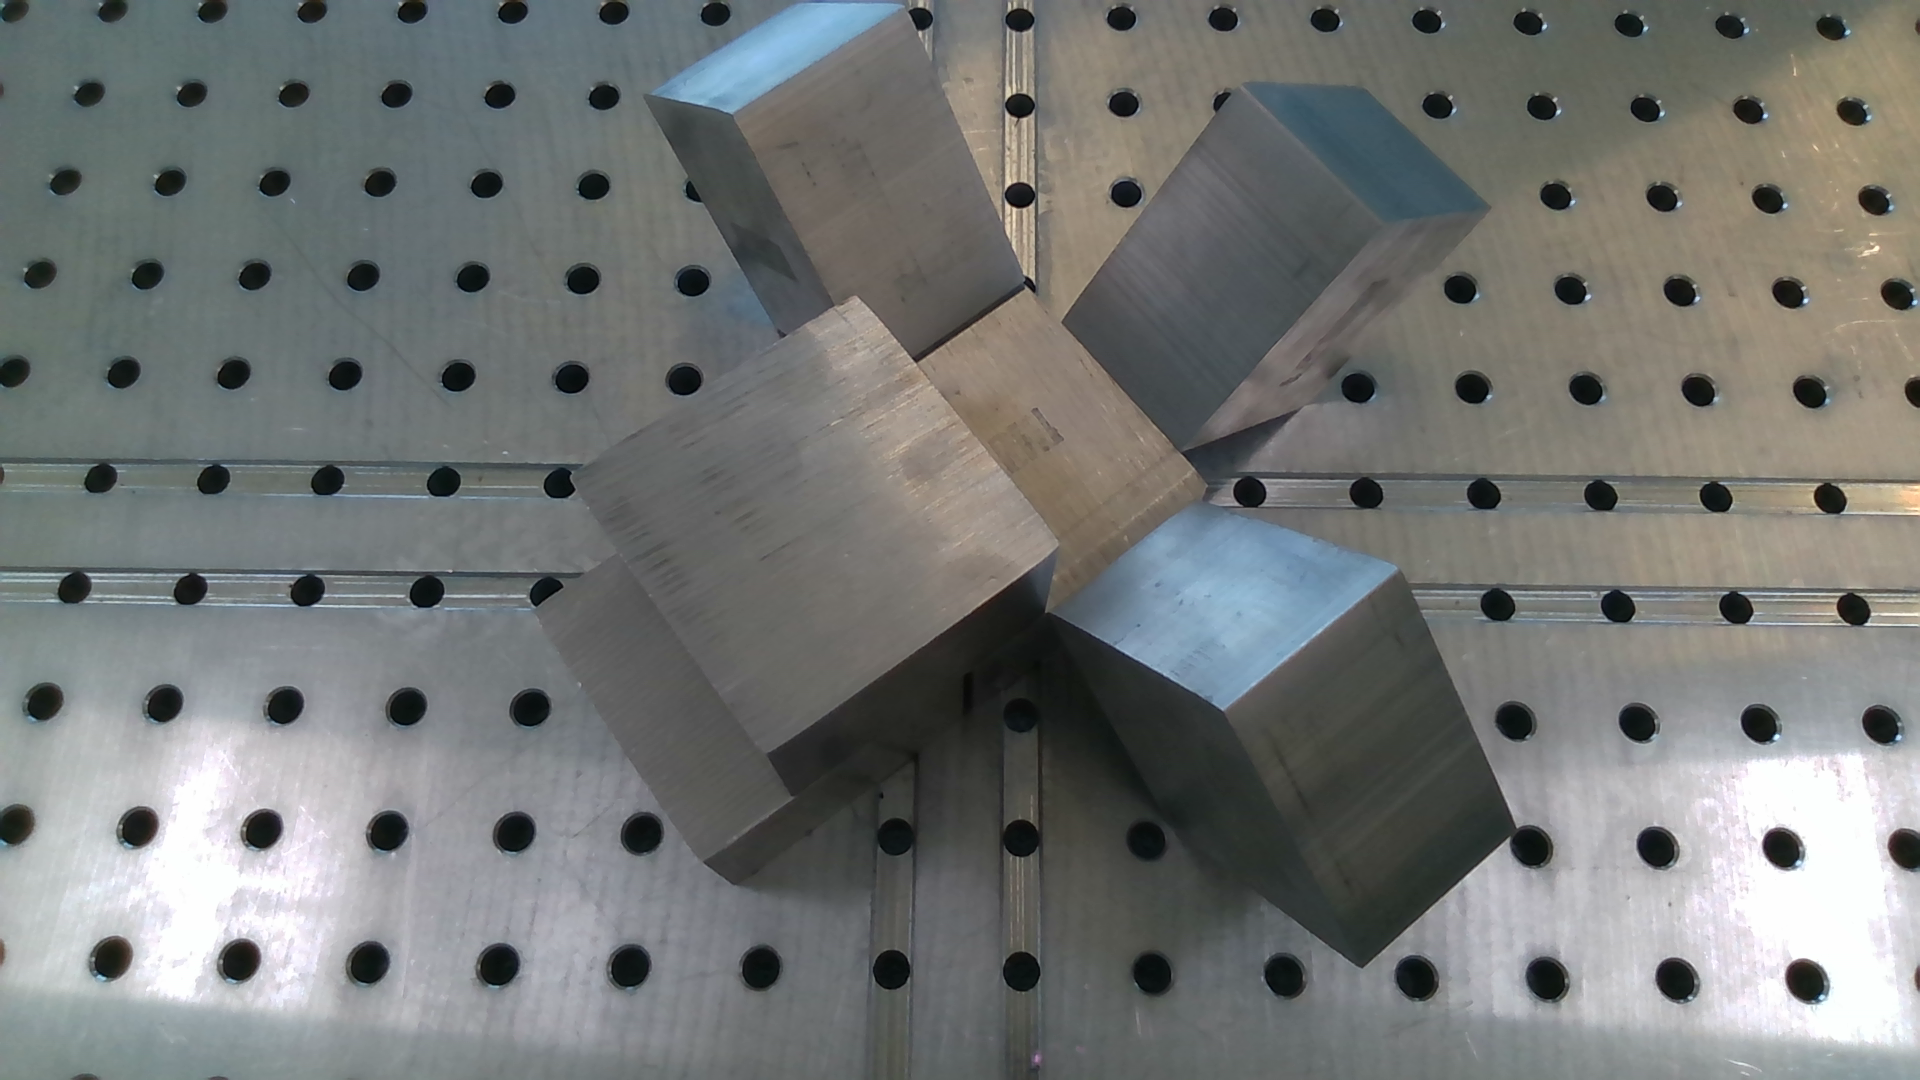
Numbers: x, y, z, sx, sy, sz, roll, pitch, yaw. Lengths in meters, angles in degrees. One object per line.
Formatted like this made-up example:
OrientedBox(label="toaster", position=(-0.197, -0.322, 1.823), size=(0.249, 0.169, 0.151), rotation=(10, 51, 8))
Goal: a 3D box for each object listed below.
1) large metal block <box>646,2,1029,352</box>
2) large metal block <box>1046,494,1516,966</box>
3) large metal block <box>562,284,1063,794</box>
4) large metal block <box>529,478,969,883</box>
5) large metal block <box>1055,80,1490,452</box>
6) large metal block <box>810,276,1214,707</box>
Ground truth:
OrientedBox(label="large metal block", position=(-0.035, -0.101, 0.389), size=(0.050, 0.080, 0.080), rotation=(-36, 33, -13))
OrientedBox(label="large metal block", position=(0.076, 0.042, 0.337), size=(0.050, 0.080, 0.080), rotation=(-37, 114, -12))
OrientedBox(label="large metal block", position=(-0.033, 0.001, 0.330), size=(0.080, 0.050, 0.080), rotation=(-36, 75, -11))
OrientedBox(label="large metal block", position=(-0.054, 0.033, 0.372), size=(0.080, 0.050, 0.080), rotation=(-35, 75, -13))
OrientedBox(label="large metal block", position=(0.086, -0.076, 0.379), size=(0.080, 0.080, 0.050), rotation=(-21, 66, -49))
OrientedBox(label="large metal block", position=(0.011, -0.012, 0.389), size=(0.080, 0.050, 0.080), rotation=(-37, 74, -12))
